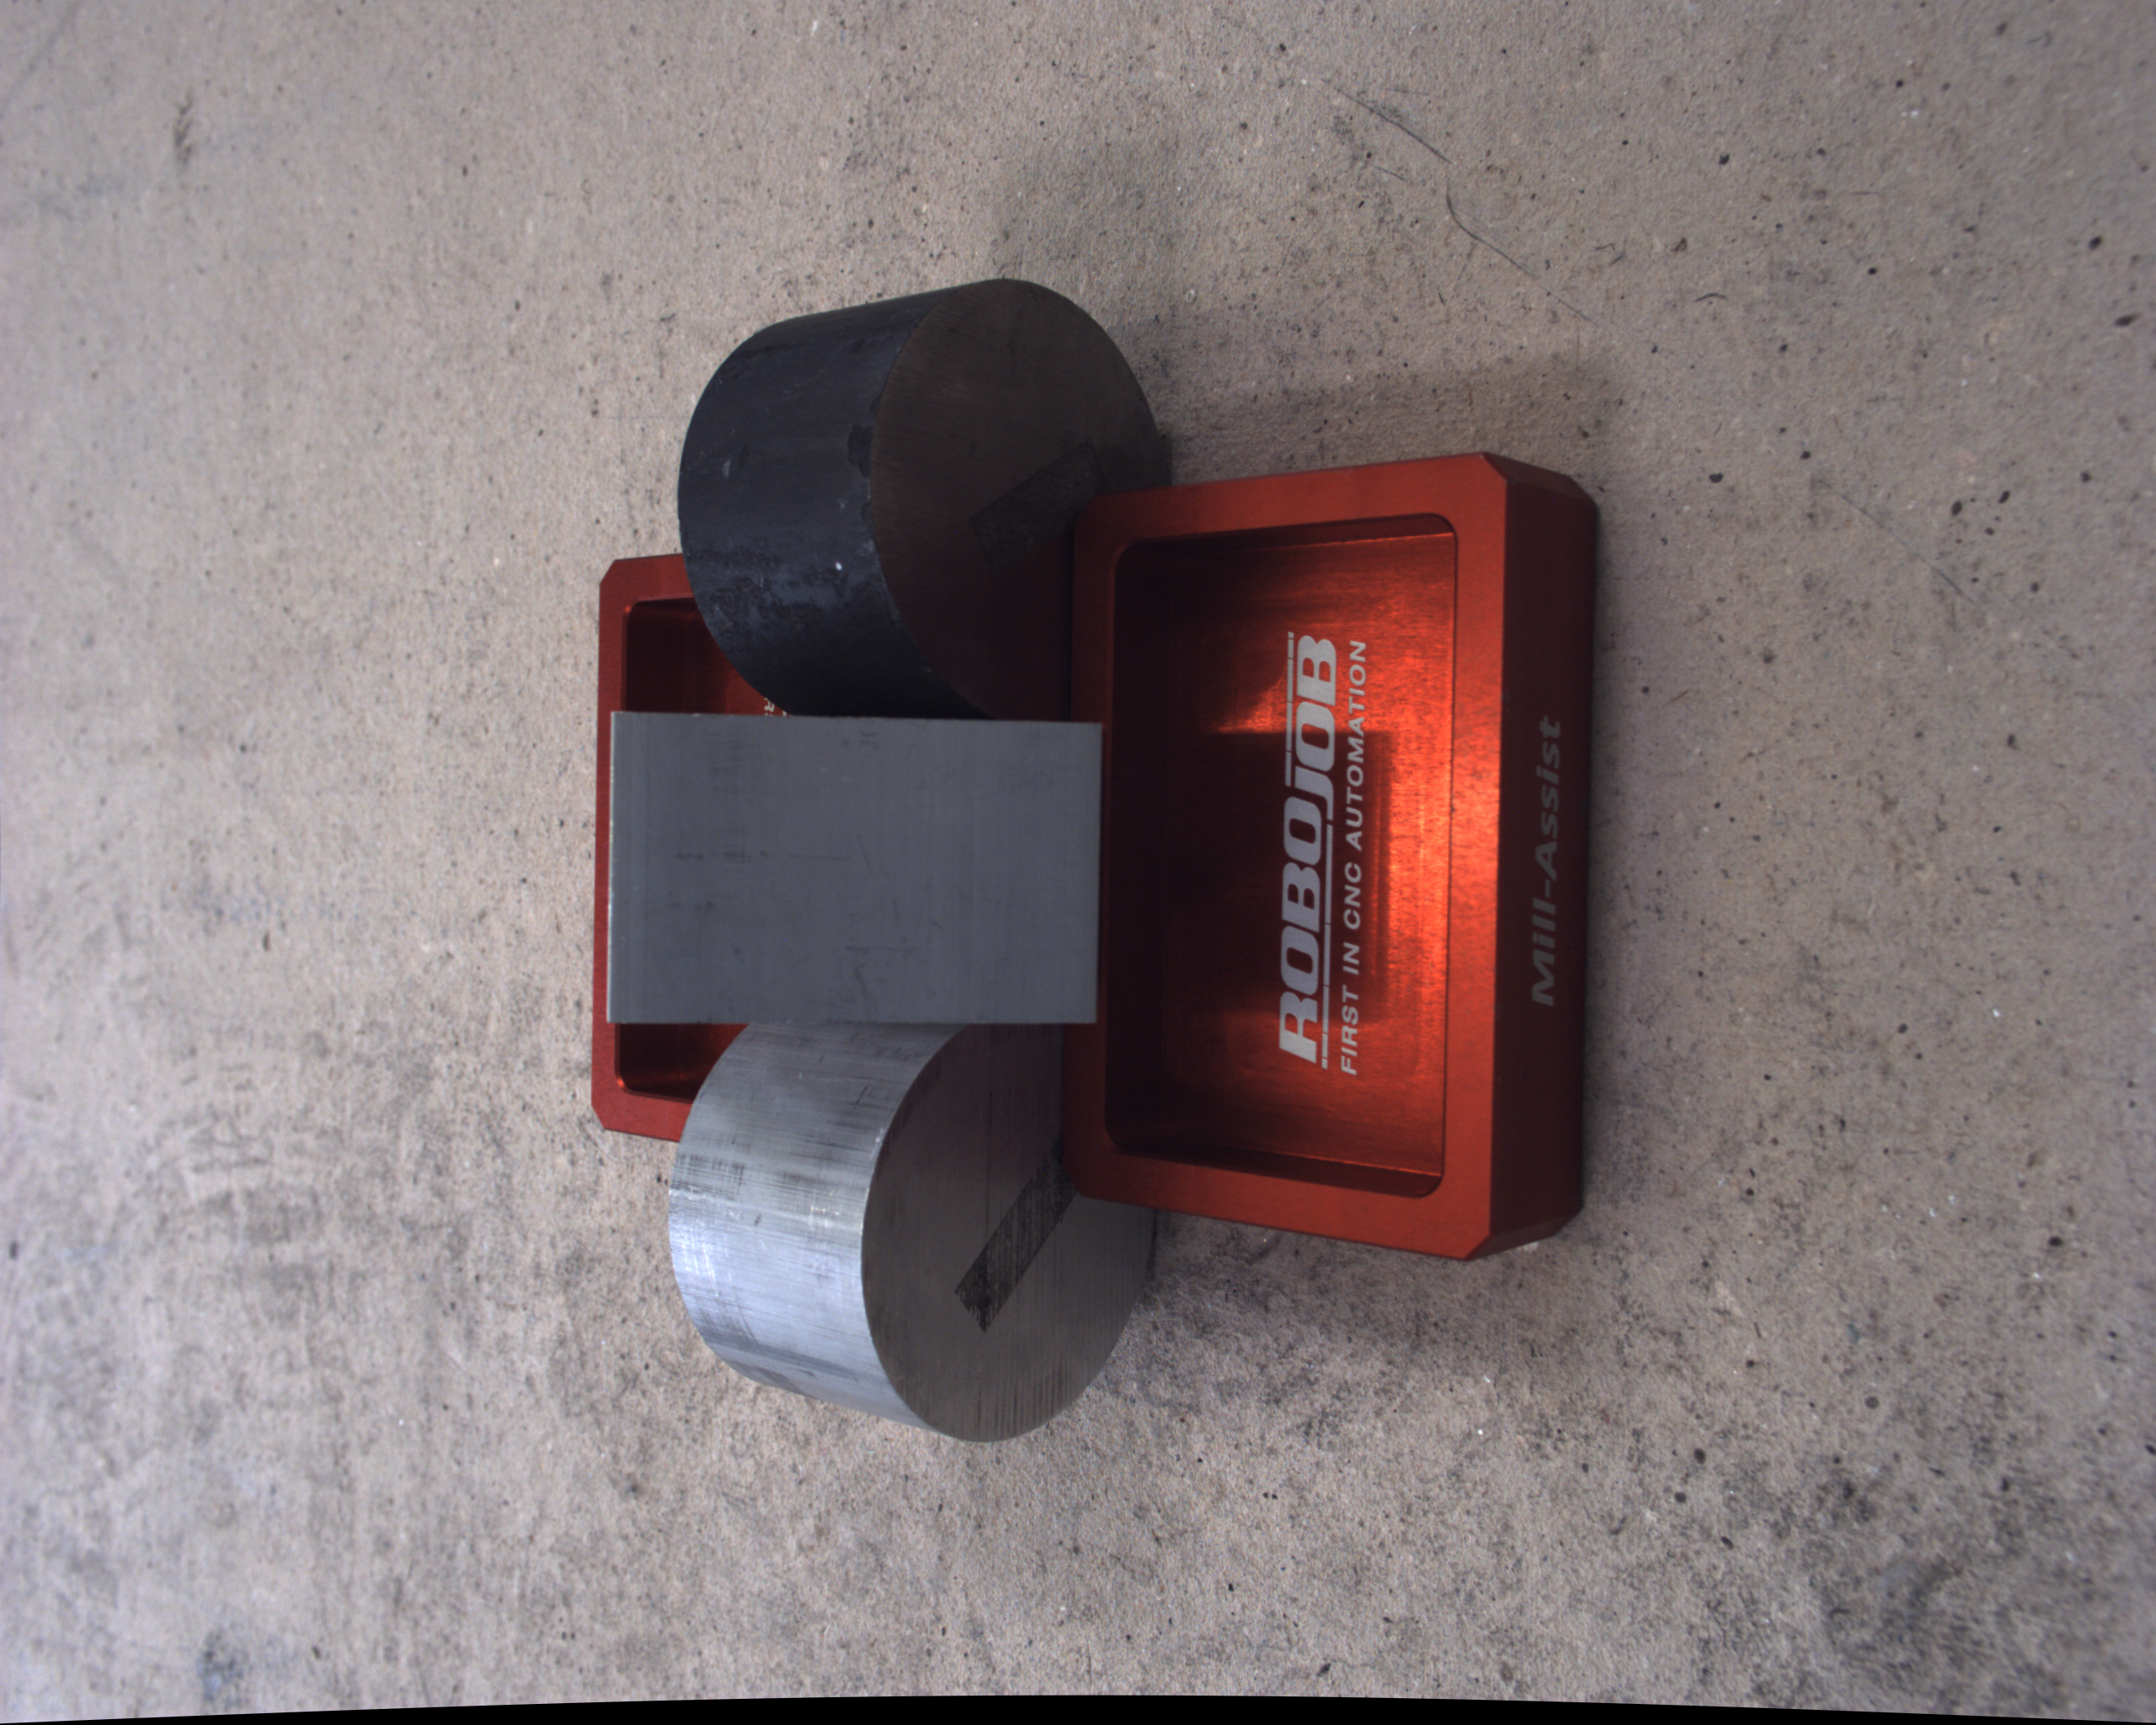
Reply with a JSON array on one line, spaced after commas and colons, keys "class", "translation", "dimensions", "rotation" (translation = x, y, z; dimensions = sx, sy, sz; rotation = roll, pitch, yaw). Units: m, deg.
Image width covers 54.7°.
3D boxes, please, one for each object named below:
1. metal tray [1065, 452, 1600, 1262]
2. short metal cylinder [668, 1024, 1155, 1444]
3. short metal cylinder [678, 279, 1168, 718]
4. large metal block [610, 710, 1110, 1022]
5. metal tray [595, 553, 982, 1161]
[{"class": "metal tray", "translation": [0.043, -0.002, 0.369], "dimensions": [0.090, 0.030, 0.129], "rotation": [2, 91, 40]}, {"class": "short metal cylinder", "translation": [-0.030, 0.064, 0.395], "dimensions": [0.050, 0.081, 0.079], "rotation": [3, 92, 40]}, {"class": "short metal cylinder", "translation": [-0.027, -0.066, 0.393], "dimensions": [0.050, 0.081, 0.079], "rotation": [3, 92, 40]}, {"class": "large metal block", "translation": [-0.041, 0.000, 0.378], "dimensions": [0.080, 0.081, 0.050], "rotation": [-170, 81, -80]}, {"class": "metal tray", "translation": [-0.065, -0.003, 0.458], "dimensions": [0.090, 0.030, 0.129], "rotation": [2, 91, 40]}]
